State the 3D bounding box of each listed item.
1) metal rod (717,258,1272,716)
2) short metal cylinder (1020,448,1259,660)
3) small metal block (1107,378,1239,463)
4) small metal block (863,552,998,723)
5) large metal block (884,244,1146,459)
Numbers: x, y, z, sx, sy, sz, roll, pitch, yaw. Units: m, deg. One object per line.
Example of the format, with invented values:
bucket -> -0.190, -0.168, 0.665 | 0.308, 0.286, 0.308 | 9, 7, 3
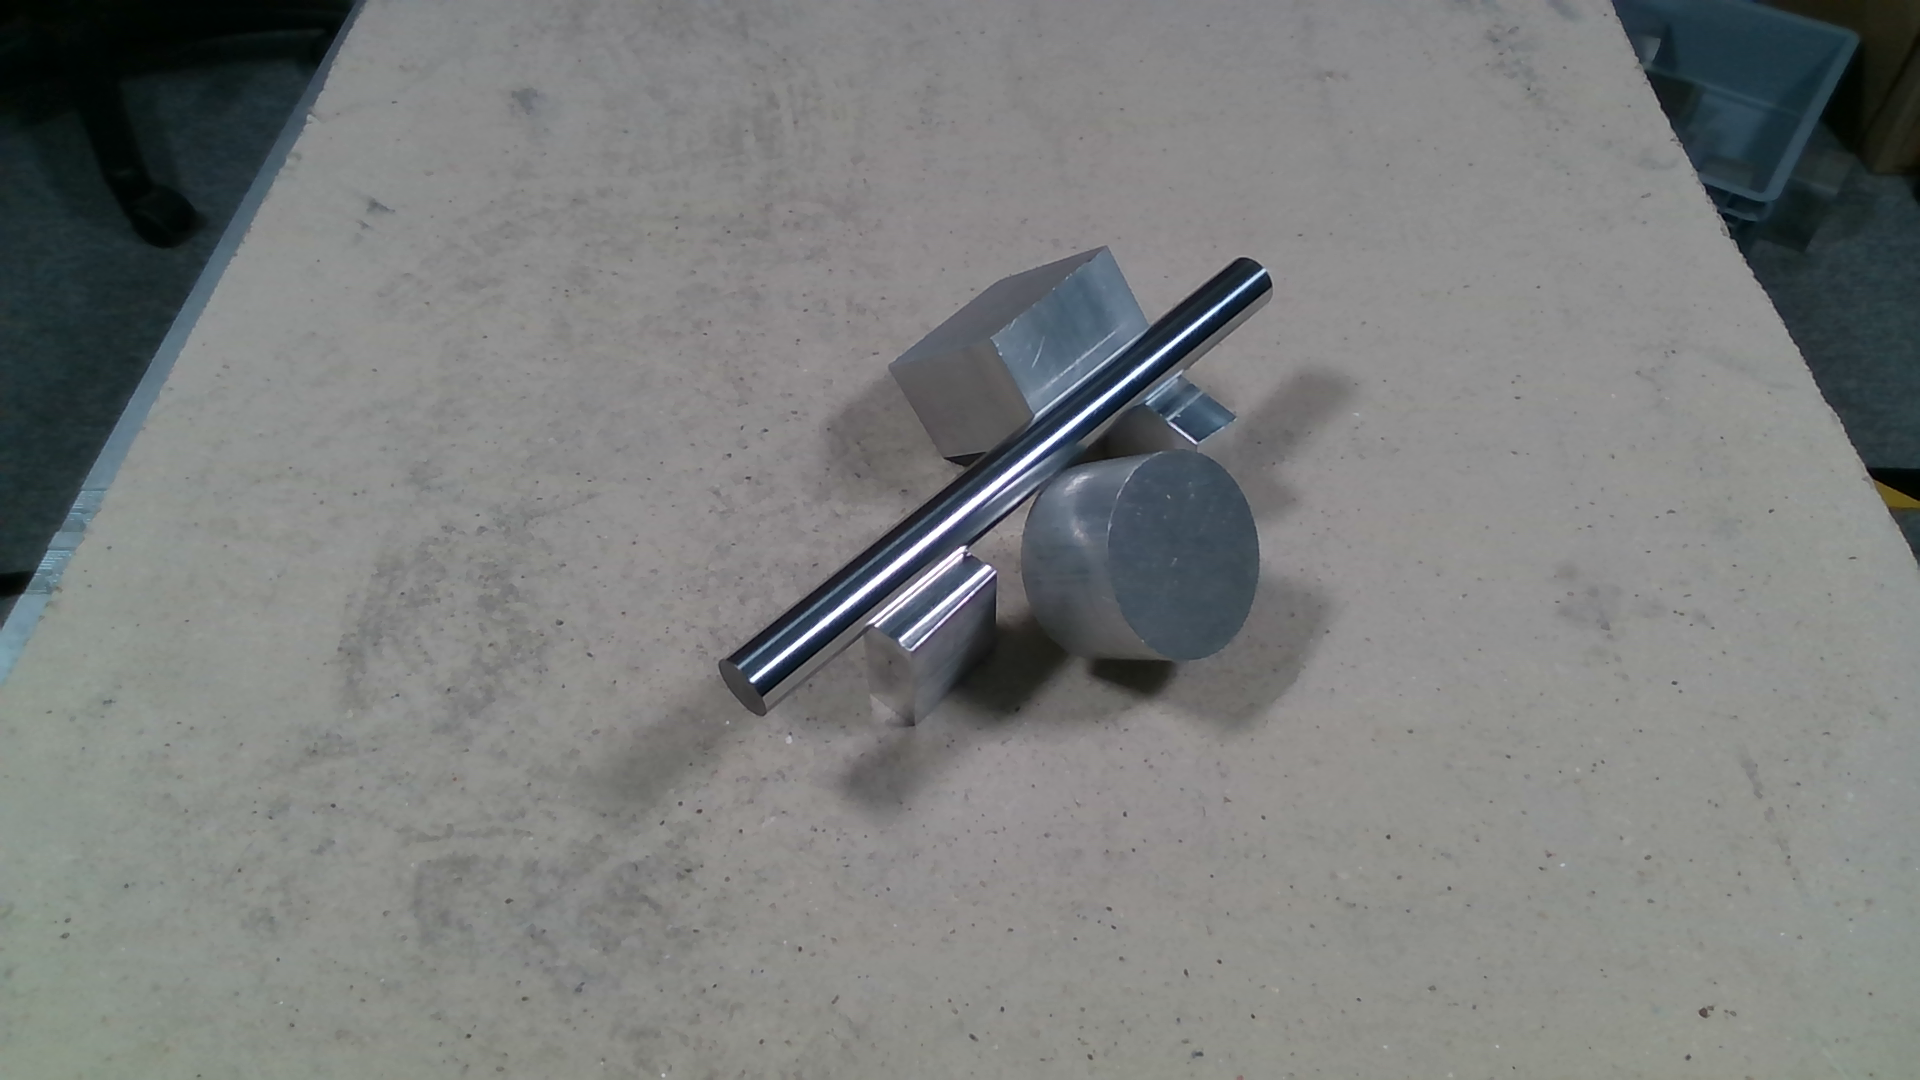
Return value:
metal rod -> 0.027, -0.032, 0.549 | 0.025, 0.025, 0.300 | 36, 59, 26
short metal cylinder -> 0.070, 0.007, 0.538 | 0.080, 0.080, 0.050 | -44, 21, -30
small metal block -> 0.093, -0.044, 0.608 | 0.025, 0.050, 0.050 | -32, 57, -24
small metal block -> -0.011, 0.035, 0.538 | 0.025, 0.050, 0.050 | 34, 58, 25
large metal block -> 0.027, -0.083, 0.617 | 0.080, 0.050, 0.080 | -42, 21, -29
